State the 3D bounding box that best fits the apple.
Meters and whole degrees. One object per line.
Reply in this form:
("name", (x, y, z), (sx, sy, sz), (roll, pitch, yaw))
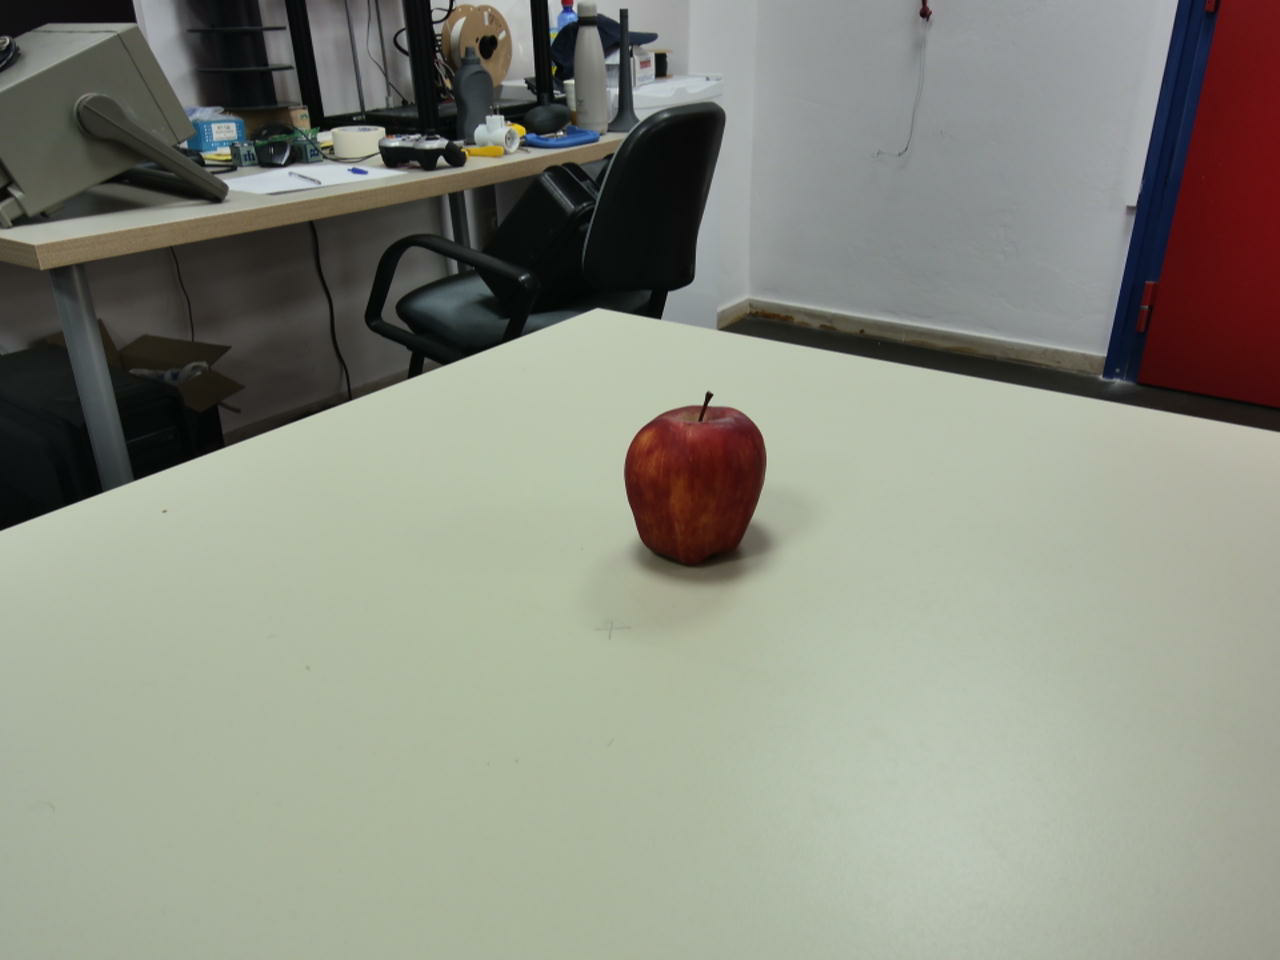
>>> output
("apple", (0.031, -0.005, 0.542), (0.083, 0.090, 0.083), (0, 24, 0))
